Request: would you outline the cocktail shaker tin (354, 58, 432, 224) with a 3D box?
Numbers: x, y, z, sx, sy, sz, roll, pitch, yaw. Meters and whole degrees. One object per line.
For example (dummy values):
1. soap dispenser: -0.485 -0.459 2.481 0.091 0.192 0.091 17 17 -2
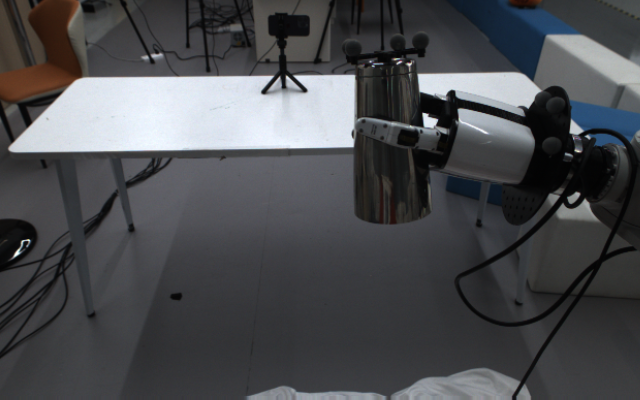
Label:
1. cocktail shaker tin: 0.079 -0.068 0.548 0.093 0.170 0.093 -6 19 2
